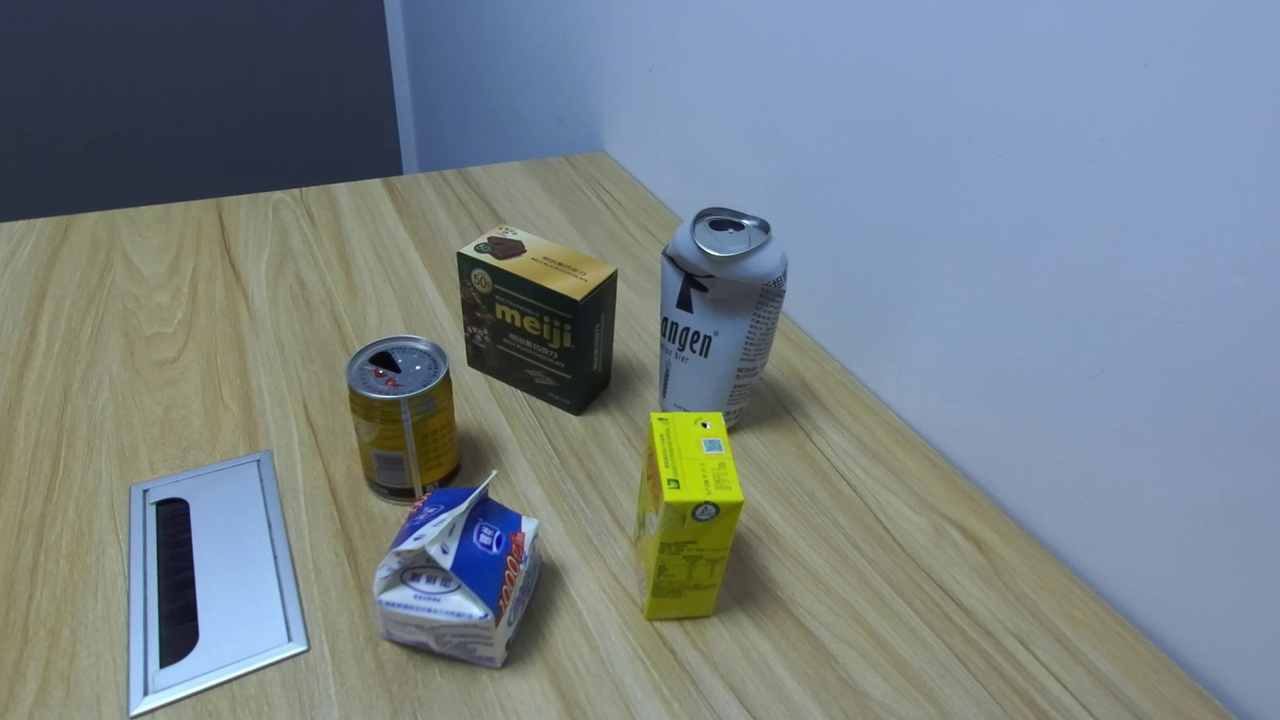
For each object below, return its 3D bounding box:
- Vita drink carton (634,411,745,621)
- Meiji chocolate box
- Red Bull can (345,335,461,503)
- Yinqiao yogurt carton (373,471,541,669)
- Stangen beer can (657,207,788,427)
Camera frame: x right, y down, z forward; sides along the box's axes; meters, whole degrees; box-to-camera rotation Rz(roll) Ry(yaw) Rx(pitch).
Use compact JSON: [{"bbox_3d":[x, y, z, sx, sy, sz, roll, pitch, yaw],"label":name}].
[{"bbox_3d":[0.025,0.089,0.399,0.043,0.109,0.066,0,40,-7],"label":"Vita drink carton"},{"bbox_3d":[-0.077,-0.030,0.536,0.109,0.109,0.056,23,42,20],"label":"Meiji chocolate box"},{"bbox_3d":[-0.150,0.039,0.453,0.069,0.092,0.069,4,38,-3],"label":"Red Bull can"},{"bbox_3d":[-0.097,0.104,0.377,0.077,0.093,0.083,11,38,7],"label":"Yinqiao yogurt carton"},{"bbox_3d":[0.052,-0.025,0.501,0.077,0.162,0.065,-2,41,-10],"label":"Stangen beer can"}]
